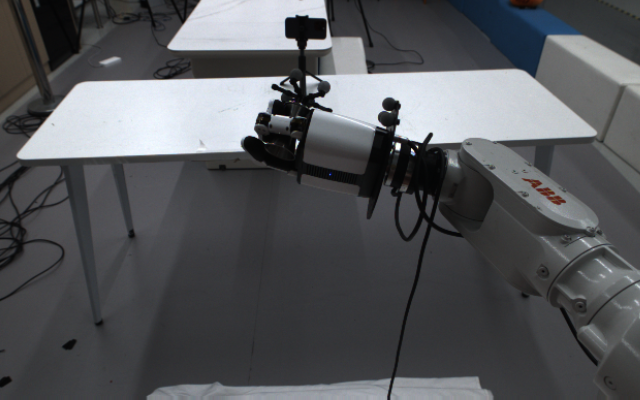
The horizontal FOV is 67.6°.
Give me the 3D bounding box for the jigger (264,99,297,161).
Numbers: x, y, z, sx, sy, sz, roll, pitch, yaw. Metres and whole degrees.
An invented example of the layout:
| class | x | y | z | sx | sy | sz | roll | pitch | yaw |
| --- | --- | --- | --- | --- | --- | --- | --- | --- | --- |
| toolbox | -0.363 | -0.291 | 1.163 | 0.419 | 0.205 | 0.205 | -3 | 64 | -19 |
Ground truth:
| class | x | y | z | sx | sy | sz | roll | pitch | yaw |
| --- | --- | --- | --- | --- | --- | --- | --- | --- | --- |
| jigger | -0.040 | -0.094 | 0.643 | 0.043 | 0.043 | 0.071 | 15 | 70 | 18 |
